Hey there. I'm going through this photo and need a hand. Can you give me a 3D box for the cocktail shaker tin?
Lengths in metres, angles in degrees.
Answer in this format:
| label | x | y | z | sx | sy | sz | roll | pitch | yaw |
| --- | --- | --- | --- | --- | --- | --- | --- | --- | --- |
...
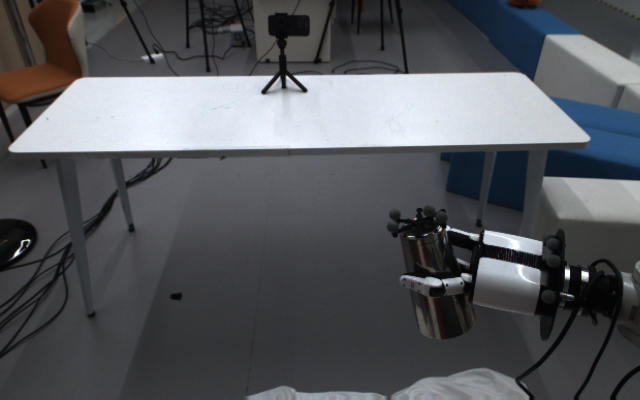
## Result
| label | x | y | z | sx | sy | sz | roll | pitch | yaw |
| --- | --- | --- | --- | --- | --- | --- | --- | --- | --- |
| cocktail shaker tin | 0.173 | 0.113 | 0.735 | 0.093 | 0.170 | 0.093 | -17 | 20 | 6 |
